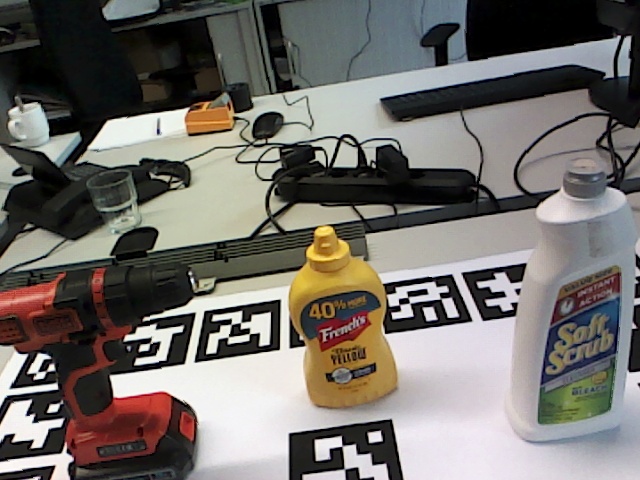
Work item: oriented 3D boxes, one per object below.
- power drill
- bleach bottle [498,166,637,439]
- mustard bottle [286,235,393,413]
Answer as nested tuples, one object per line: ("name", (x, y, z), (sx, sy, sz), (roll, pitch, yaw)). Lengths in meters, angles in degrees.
("power drill", (-0.172, 0.106, 0.556), (0.184, 0.186, 0.057), (-15, 31, 0))
("bleach bottle", (0.204, 0.058, 0.522), (0.103, 0.250, 0.068), (-4, 31, 9))
("mustard bottle", (0.017, 0.081, 0.603), (0.096, 0.191, 0.059), (-11, 30, -5))
